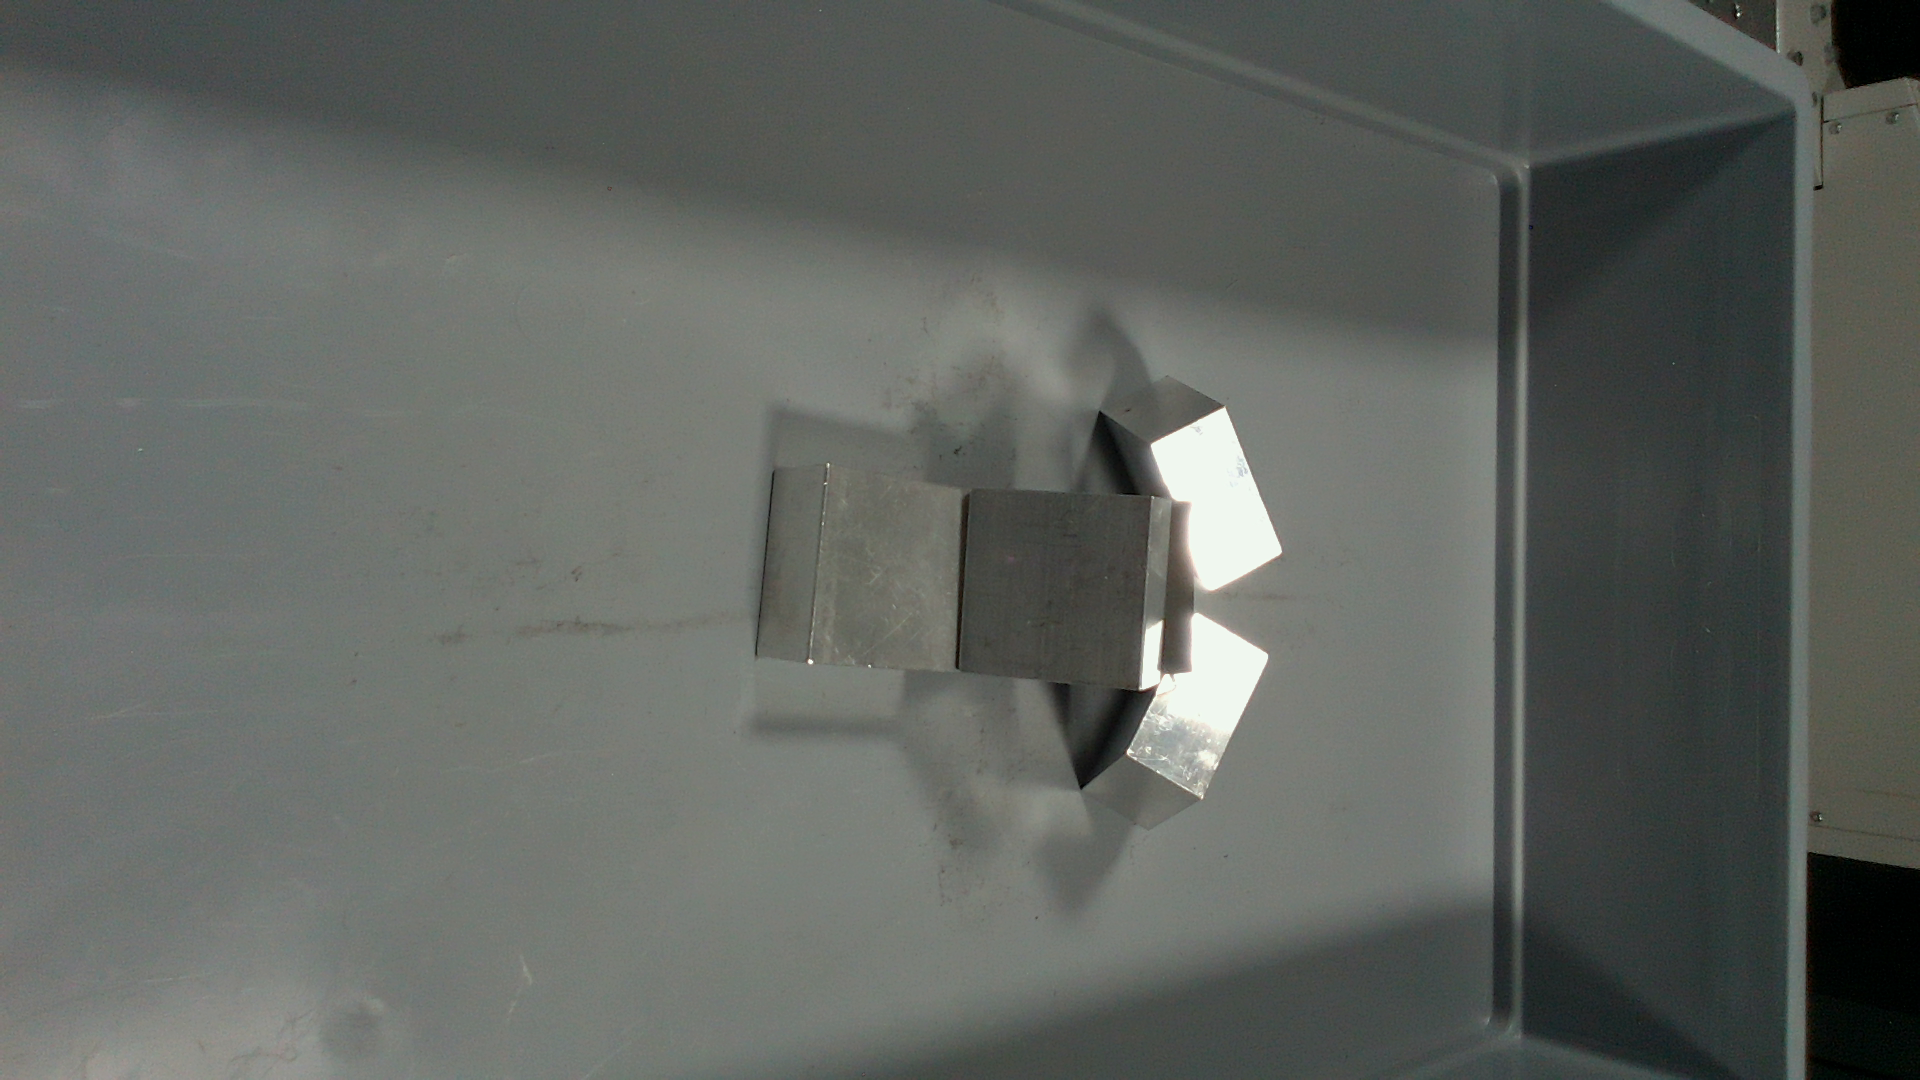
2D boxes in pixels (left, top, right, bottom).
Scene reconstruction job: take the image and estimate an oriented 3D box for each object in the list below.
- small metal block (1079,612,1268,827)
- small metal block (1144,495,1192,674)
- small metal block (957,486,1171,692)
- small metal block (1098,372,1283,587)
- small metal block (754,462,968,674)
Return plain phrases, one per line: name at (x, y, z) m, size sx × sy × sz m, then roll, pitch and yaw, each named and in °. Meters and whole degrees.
small metal block at (0.065, 0.056, 0.422) m, size 0.025 × 0.050 × 0.050 m, roll 30°, pitch 66°, yaw 2°
small metal block at (0.041, 0.013, 0.405) m, size 0.025 × 0.050 × 0.050 m, roll 1°, pitch 89°, yaw -40°
small metal block at (0.029, 0.012, 0.371) m, size 0.025 × 0.050 × 0.050 m, roll 2°, pitch 91°, yaw -71°
small metal block at (0.071, -0.020, 0.426) m, size 0.025 × 0.050 × 0.050 m, roll -27°, pitch 110°, yaw -3°
small metal block at (-0.024, 0.008, 0.366) m, size 0.050 × 0.025 × 0.050 m, roll 8°, pitch 85°, yaw -39°
